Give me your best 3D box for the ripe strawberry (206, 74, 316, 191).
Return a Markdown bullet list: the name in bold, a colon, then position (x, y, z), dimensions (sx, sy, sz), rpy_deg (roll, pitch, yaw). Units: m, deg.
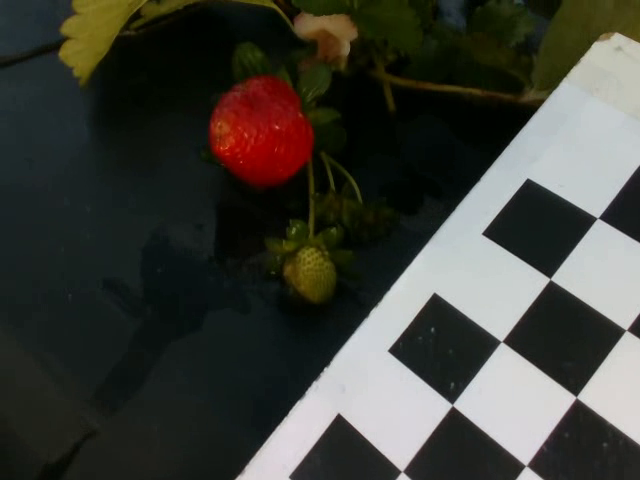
- **ripe strawberry**: position (-0.027, -0.042, 0.233), dimensions (0.043, 0.052, 0.057), rpy_deg (9, 11, 23)
